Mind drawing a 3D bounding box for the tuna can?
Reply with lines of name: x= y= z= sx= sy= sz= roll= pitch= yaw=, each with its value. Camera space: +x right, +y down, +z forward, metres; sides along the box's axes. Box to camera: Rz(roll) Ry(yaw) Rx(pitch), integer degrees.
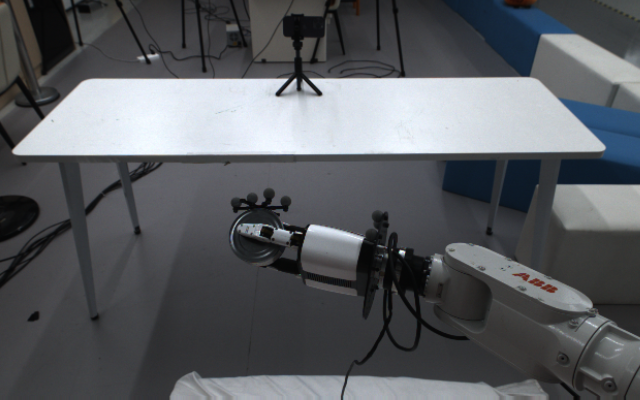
tuna can: x=-0.088 y=0.059 z=0.743 sx=0.085 sy=0.034 sz=0.085 roll=-2 pitch=69 yaw=6
